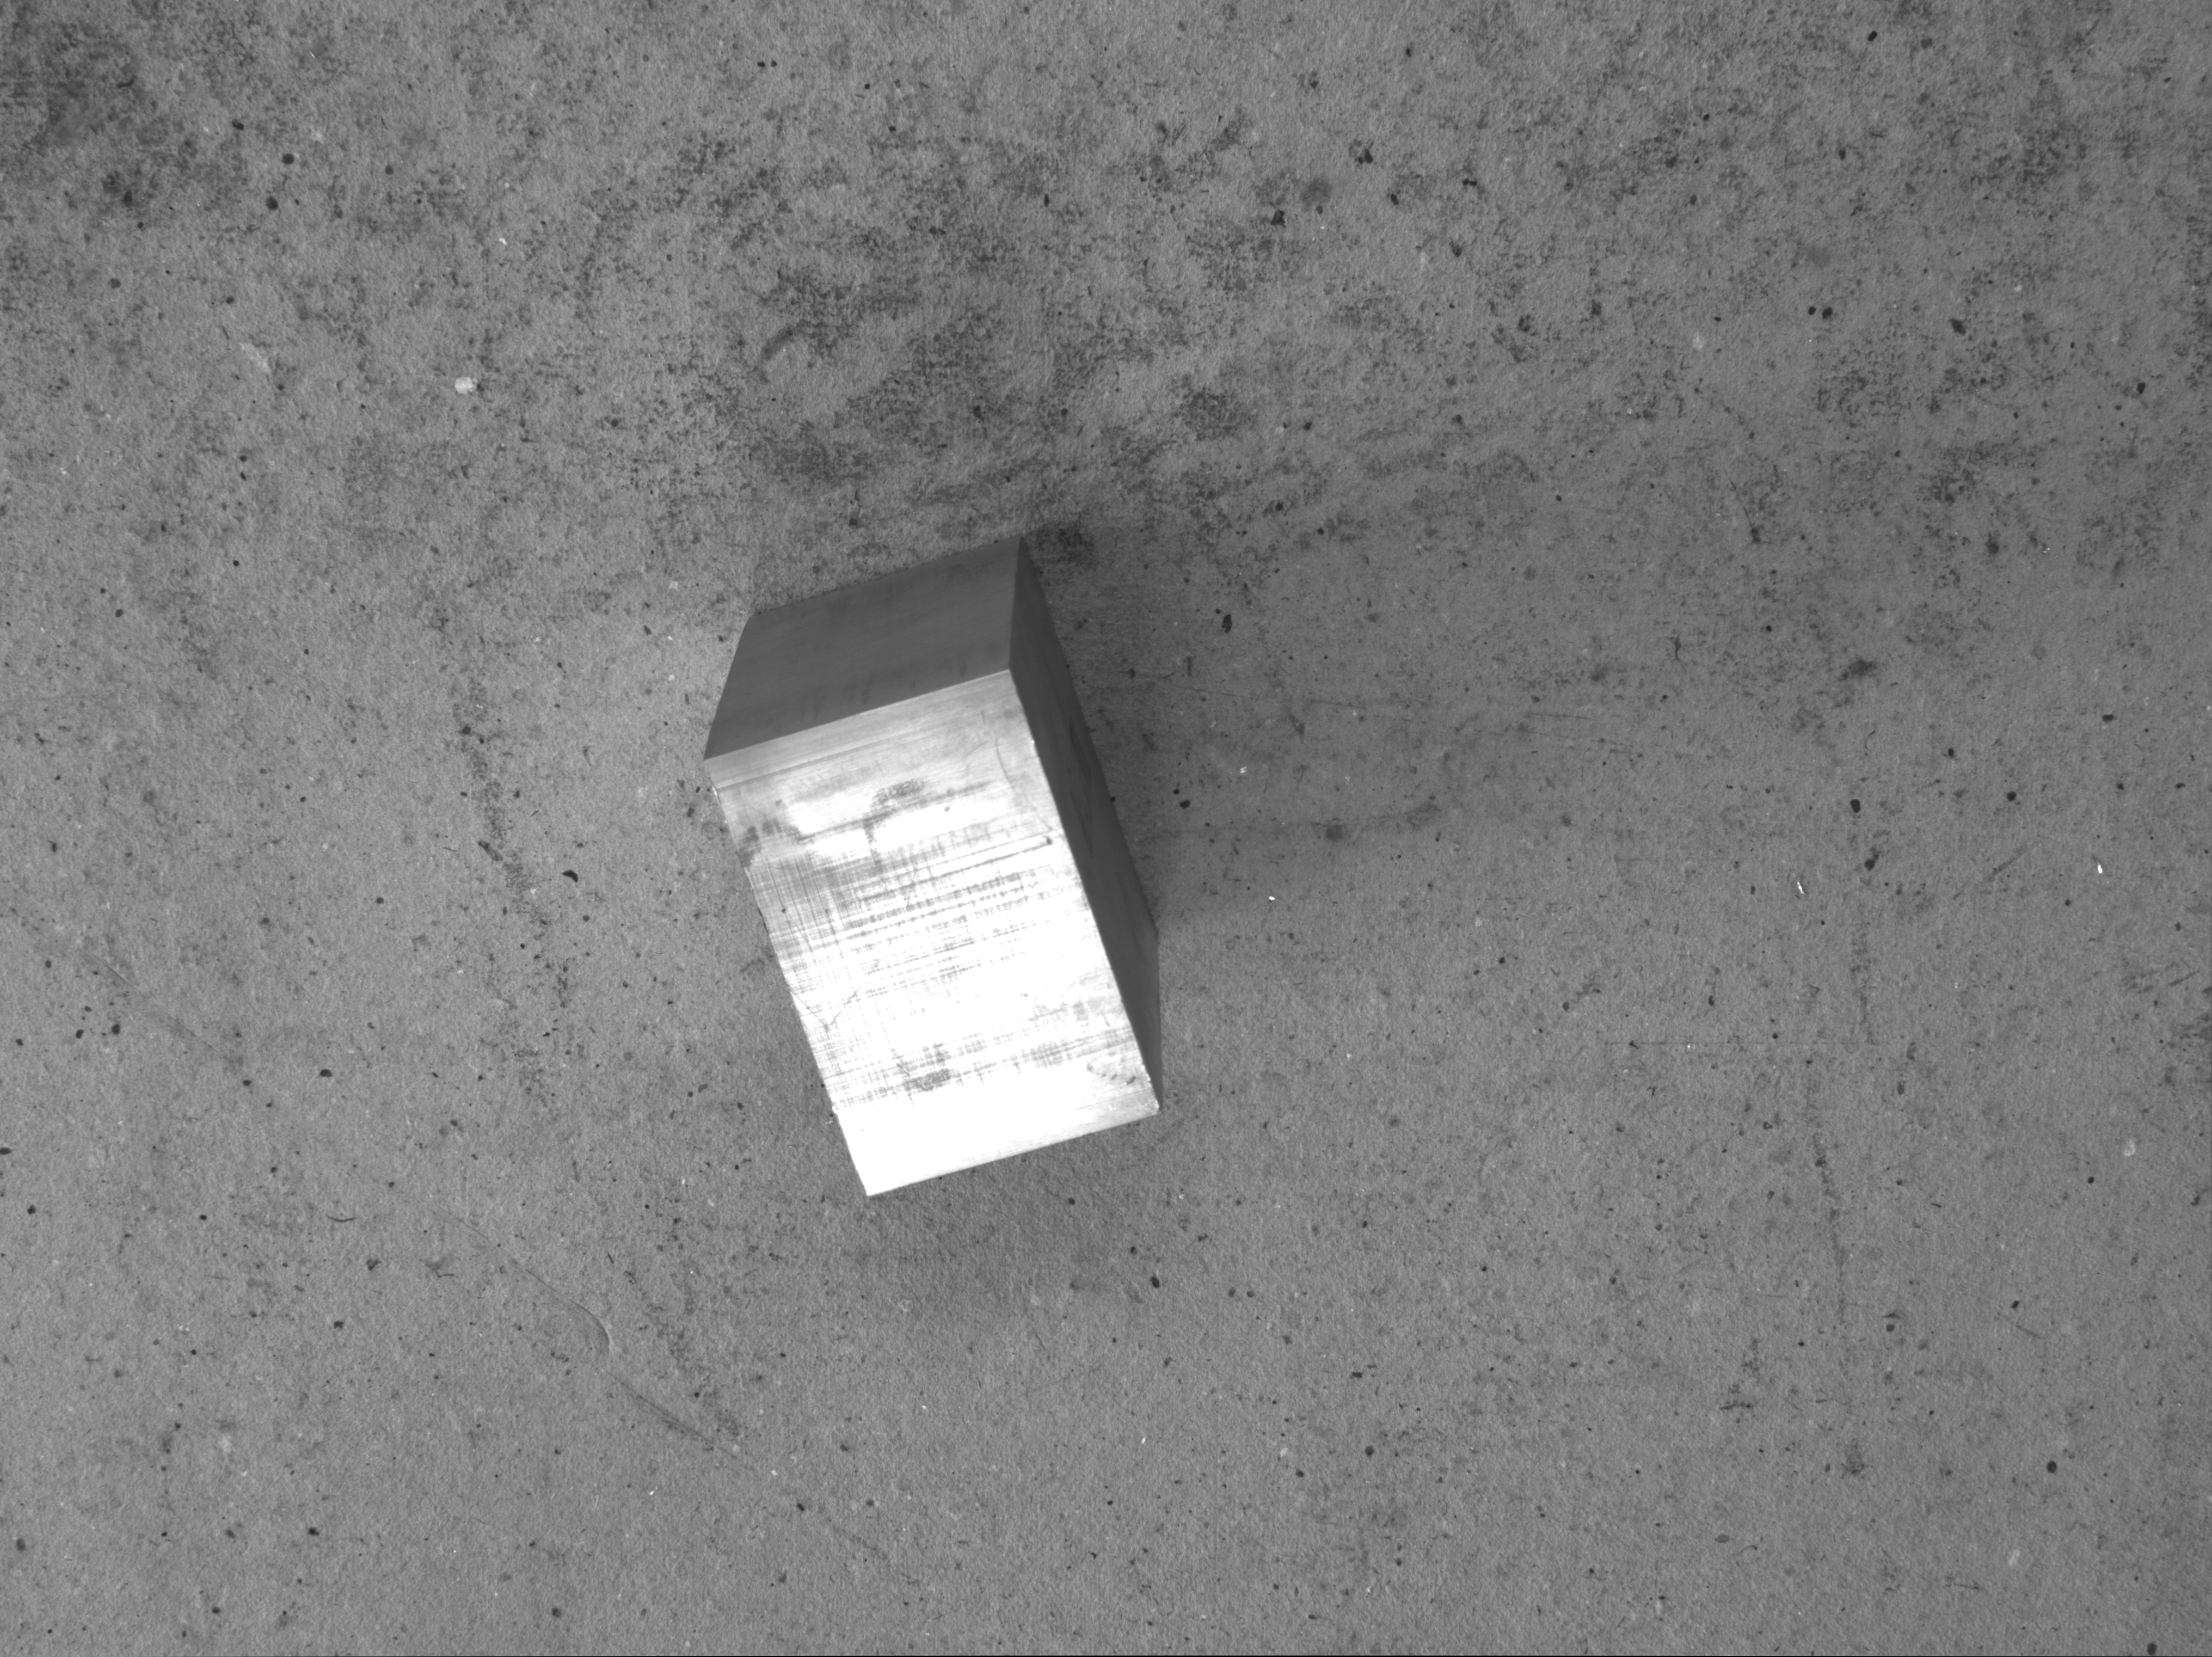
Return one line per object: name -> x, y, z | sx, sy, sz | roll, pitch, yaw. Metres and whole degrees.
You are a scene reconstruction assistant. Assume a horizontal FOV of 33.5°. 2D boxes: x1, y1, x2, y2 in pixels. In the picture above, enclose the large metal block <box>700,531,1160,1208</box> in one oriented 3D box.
large metal block -> -0.027, 0.005, 0.616 | 0.050, 0.080, 0.080 | -16, 109, 6
